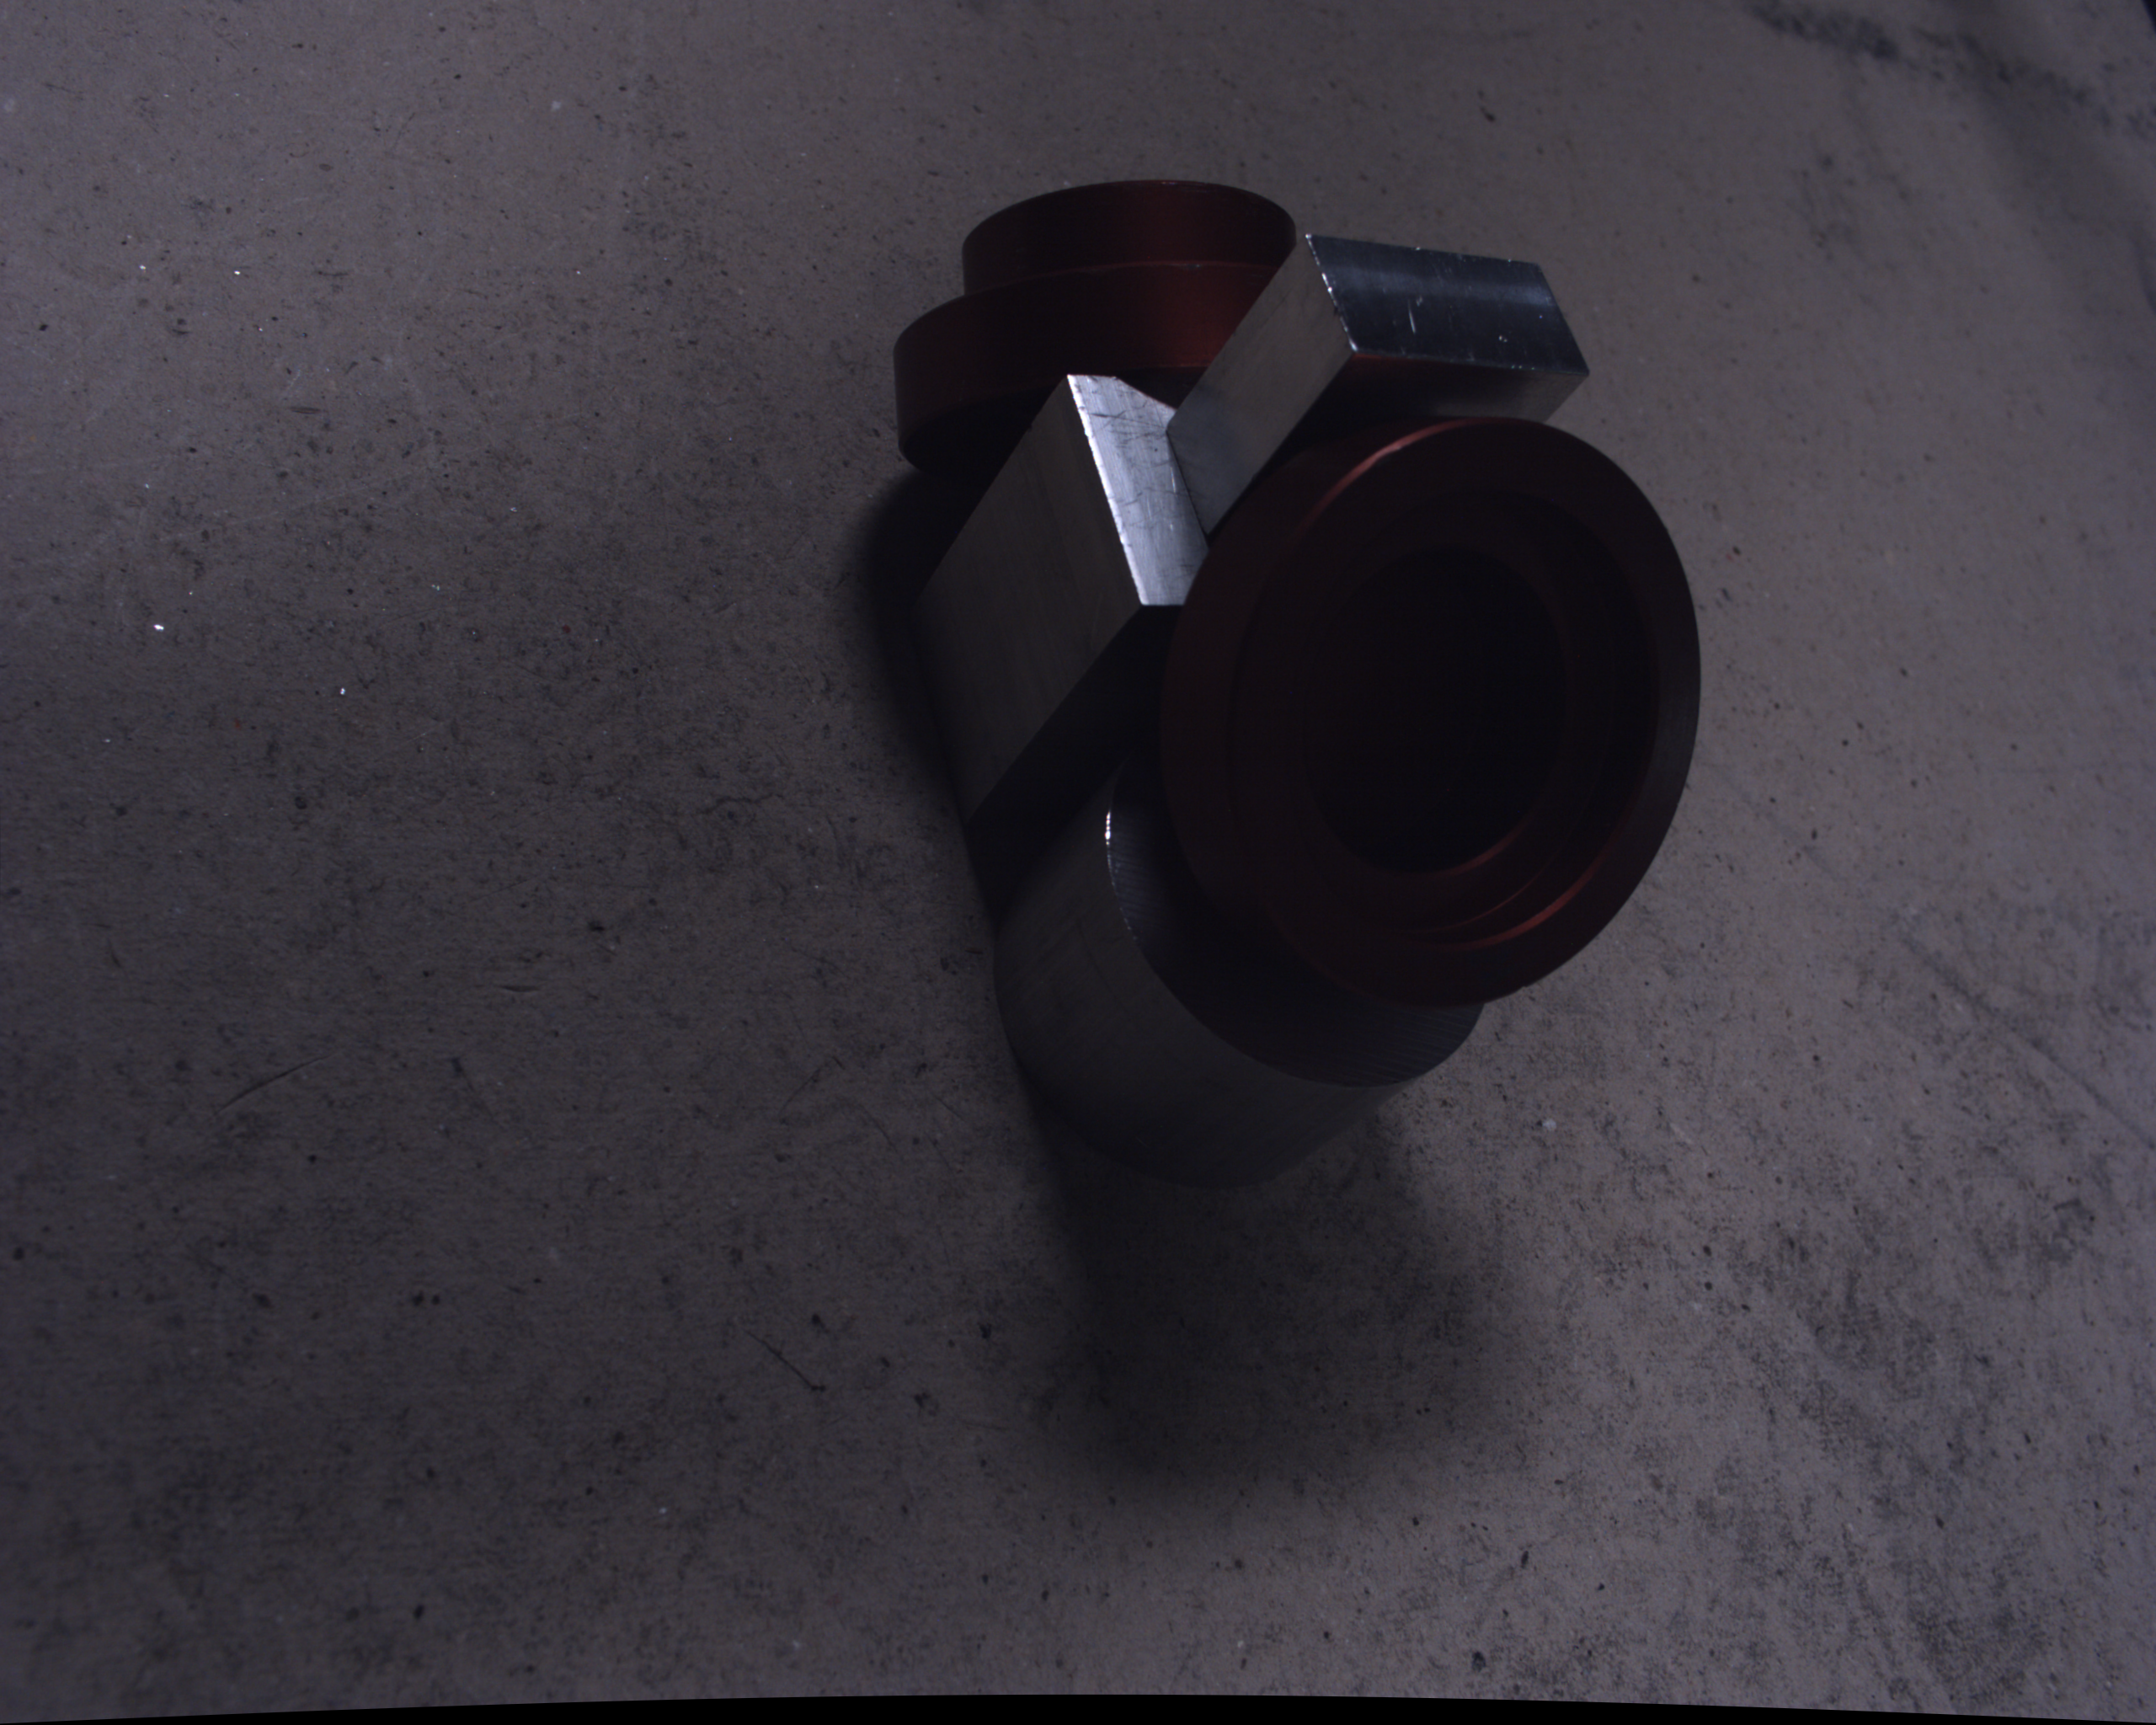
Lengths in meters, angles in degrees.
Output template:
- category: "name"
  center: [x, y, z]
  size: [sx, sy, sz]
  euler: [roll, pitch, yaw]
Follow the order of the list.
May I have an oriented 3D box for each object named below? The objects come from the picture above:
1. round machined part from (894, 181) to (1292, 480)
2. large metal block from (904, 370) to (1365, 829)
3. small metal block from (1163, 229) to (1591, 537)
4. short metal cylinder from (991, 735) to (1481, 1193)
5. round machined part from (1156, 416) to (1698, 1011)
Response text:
- category: "round machined part"
  center: [0.011, -0.107, 0.426]
  size: [0.099, 0.098, 0.042]
  euler: [-2, 88, -30]
- category: "large metal block"
  center: [0.022, -0.049, 0.412]
  size: [0.081, 0.080, 0.050]
  euler: [-2, 63, -30]
- category: "small metal block"
  center: [0.051, -0.081, 0.364]
  size: [0.050, 0.050, 0.025]
  euler: [-3, 63, -30]
- category: "short metal cylinder"
  center: [0.030, 0.017, 0.398]
  size: [0.081, 0.050, 0.080]
  euler: [14, 56, -21]
- category: "round machined part"
  center: [0.055, -0.027, 0.357]
  size: [0.099, 0.042, 0.097]
  euler: [-7, 103, -28]
